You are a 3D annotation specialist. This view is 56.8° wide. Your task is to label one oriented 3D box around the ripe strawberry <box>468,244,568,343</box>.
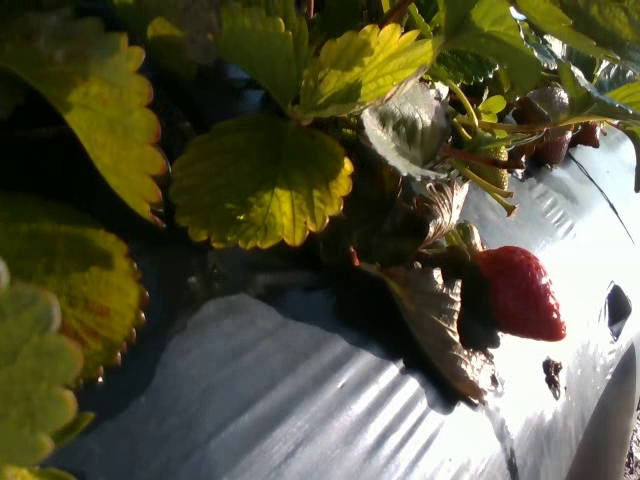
[{"bbox_3d":[0.077,0.027,0.215,0.038,0.054,0.046,-46,-31,20],"label":"ripe strawberry"}]
